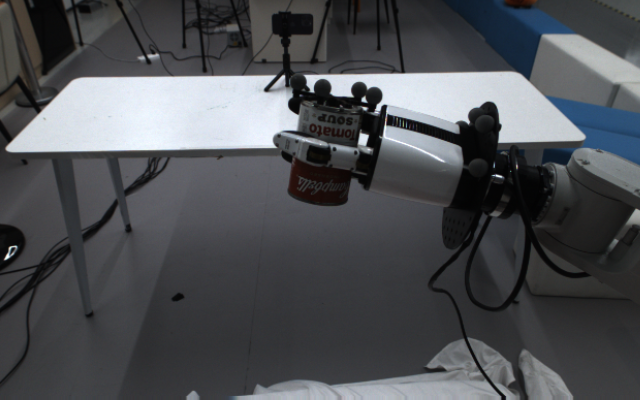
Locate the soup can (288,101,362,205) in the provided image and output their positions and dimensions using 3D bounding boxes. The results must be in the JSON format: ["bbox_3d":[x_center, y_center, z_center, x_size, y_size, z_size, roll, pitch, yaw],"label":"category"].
[{"bbox_3d":[0.007,-0.052,0.516,0.067,0.101,0.067,8,19,-3],"label":"soup can"}]
